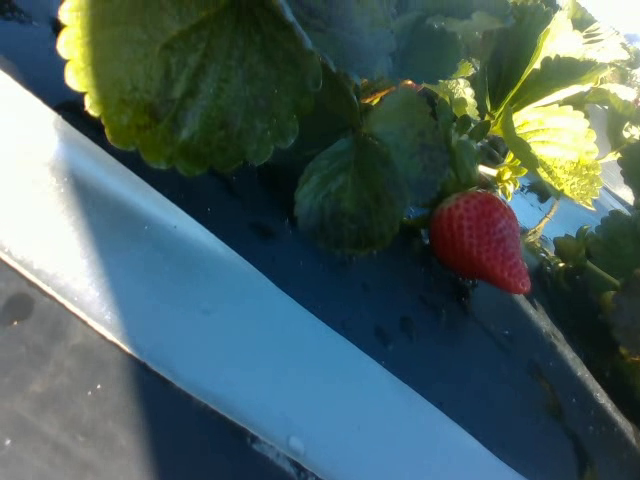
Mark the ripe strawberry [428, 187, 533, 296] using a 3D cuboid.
[{"bbox_3d":[0.070,0.003,0.248,0.045,0.059,0.042,-16,-29,-11],"label":"ripe strawberry"}]
